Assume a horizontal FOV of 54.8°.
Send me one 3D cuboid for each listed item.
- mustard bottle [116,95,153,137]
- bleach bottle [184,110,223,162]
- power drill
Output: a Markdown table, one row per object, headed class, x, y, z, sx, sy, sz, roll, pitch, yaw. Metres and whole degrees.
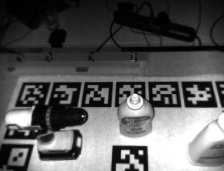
| class | x | y | z | sx | sy | sz | roll | pitch | yaw |
| --- | --- | --- | --- | --- | --- | --- | --- | --- | --- |
| mustard bottle | 0.060 | 0.079 | 0.579 | 0.096 | 0.192 | 0.058 | -7 | 57 | -1 |
| bleach bottle | 0.244 | 0.114 | 0.505 | 0.102 | 0.252 | 0.068 | 6 | 59 | 9 |
| power drill | -0.133 | 0.104 | 0.542 | 0.184 | 0.188 | 0.057 | -8 | 57 | 5 |
